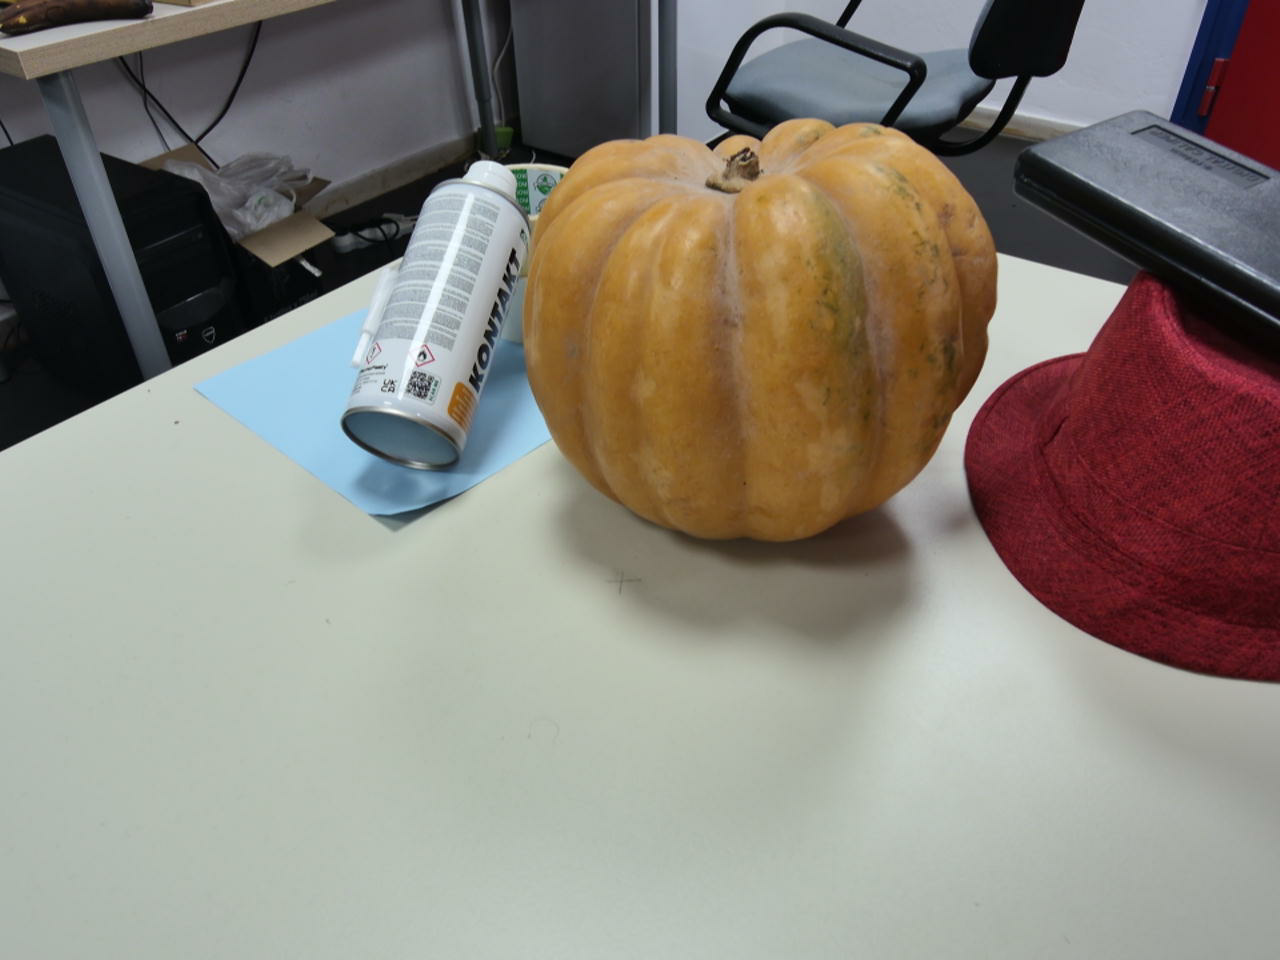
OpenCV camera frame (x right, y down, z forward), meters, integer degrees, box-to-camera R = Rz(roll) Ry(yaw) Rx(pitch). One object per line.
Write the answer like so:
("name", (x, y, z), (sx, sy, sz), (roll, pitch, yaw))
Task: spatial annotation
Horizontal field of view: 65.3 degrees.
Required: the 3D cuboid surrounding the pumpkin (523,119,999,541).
("pumpkin", (0.055, -0.074, 0.493), (0.230, 0.194, 0.230), (0, 37, 0))
